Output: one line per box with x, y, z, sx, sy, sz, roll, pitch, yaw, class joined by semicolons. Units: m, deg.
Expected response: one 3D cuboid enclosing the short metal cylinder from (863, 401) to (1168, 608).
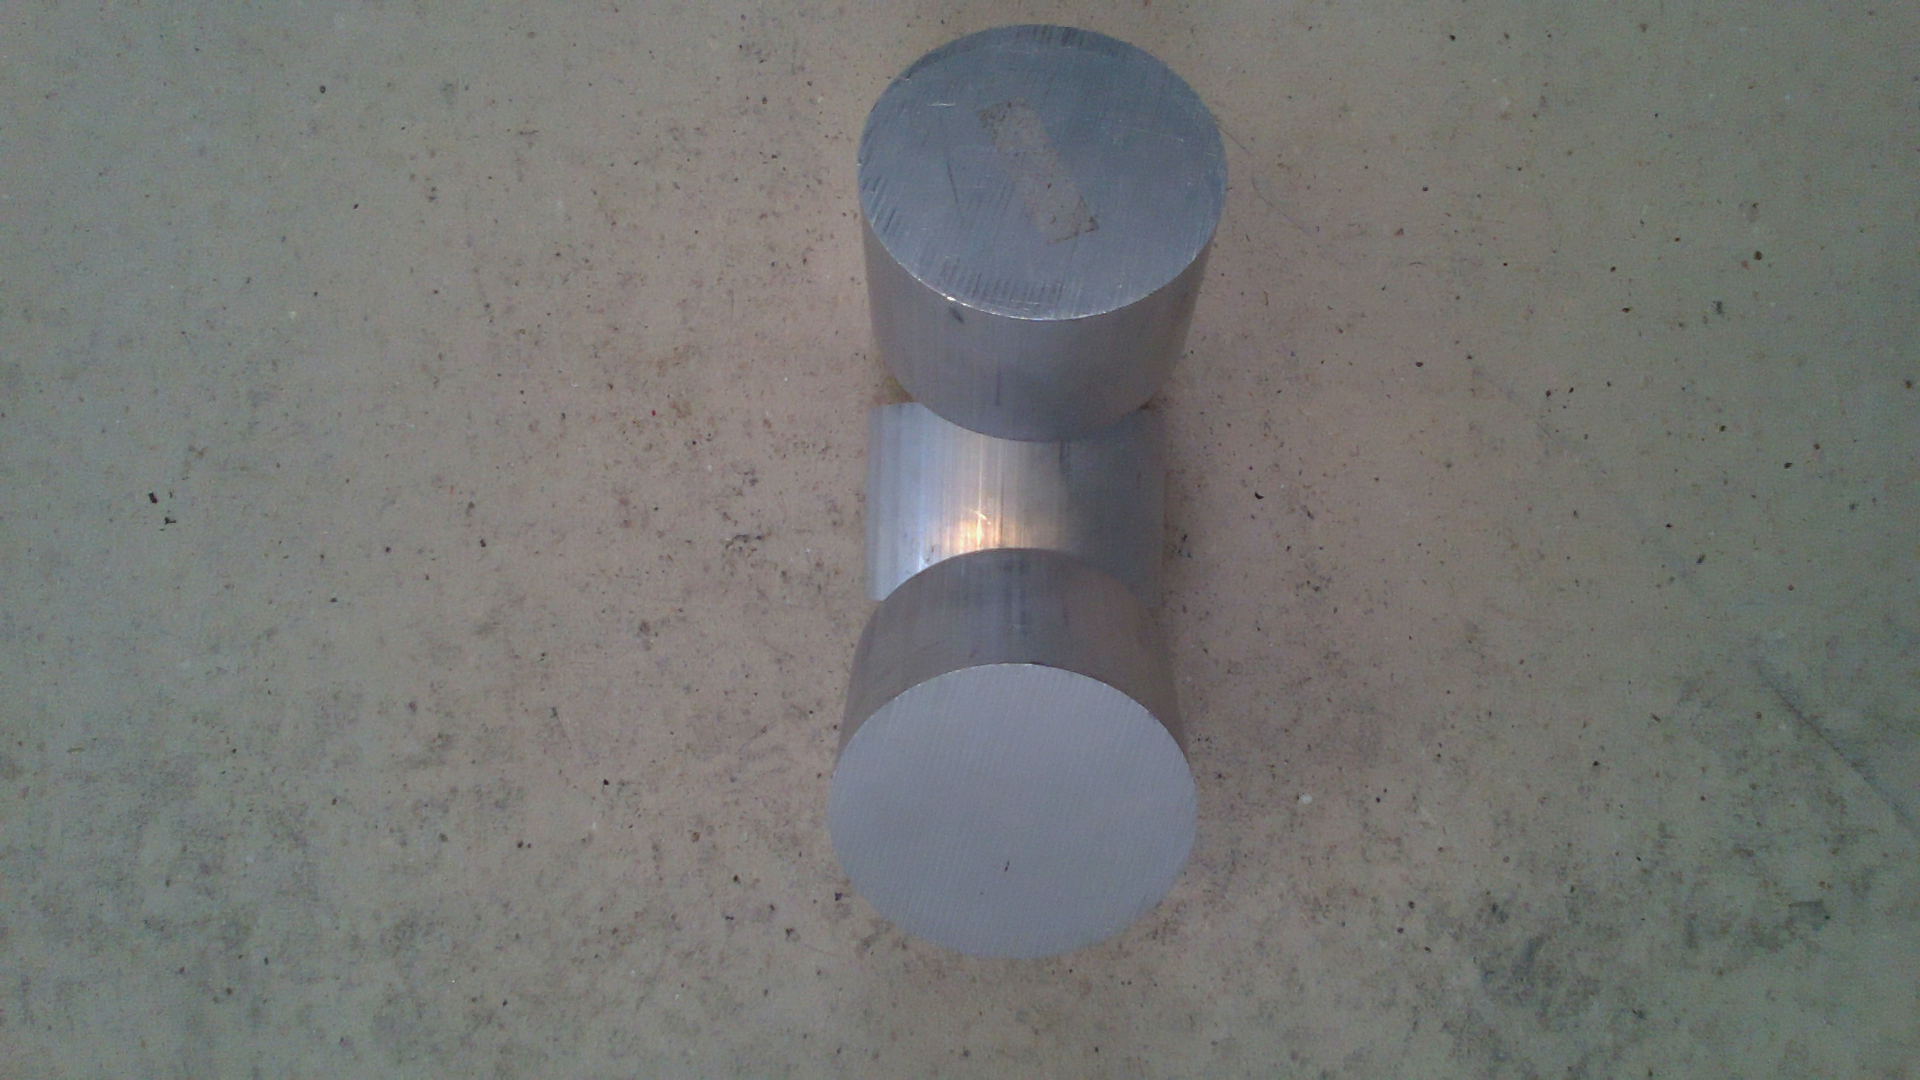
0.015;-0.009;0.369;0.080;0.080;0.050;1;90;0;short metal cylinder

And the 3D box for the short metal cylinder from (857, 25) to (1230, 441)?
0.018;-0.070;0.318;0.080;0.050;0.080;0;65;-1;short metal cylinder

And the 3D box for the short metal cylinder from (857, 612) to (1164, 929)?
0.013;0.061;0.383;0.080;0.050;0.080;0;90;0;short metal cylinder

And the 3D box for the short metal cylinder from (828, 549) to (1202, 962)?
0.012;0.049;0.317;0.080;0.050;0.080;0;118;1;short metal cylinder

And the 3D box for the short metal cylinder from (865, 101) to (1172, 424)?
0.015;-0.074;0.383;0.080;0.050;0.080;0;90;0;short metal cylinder
